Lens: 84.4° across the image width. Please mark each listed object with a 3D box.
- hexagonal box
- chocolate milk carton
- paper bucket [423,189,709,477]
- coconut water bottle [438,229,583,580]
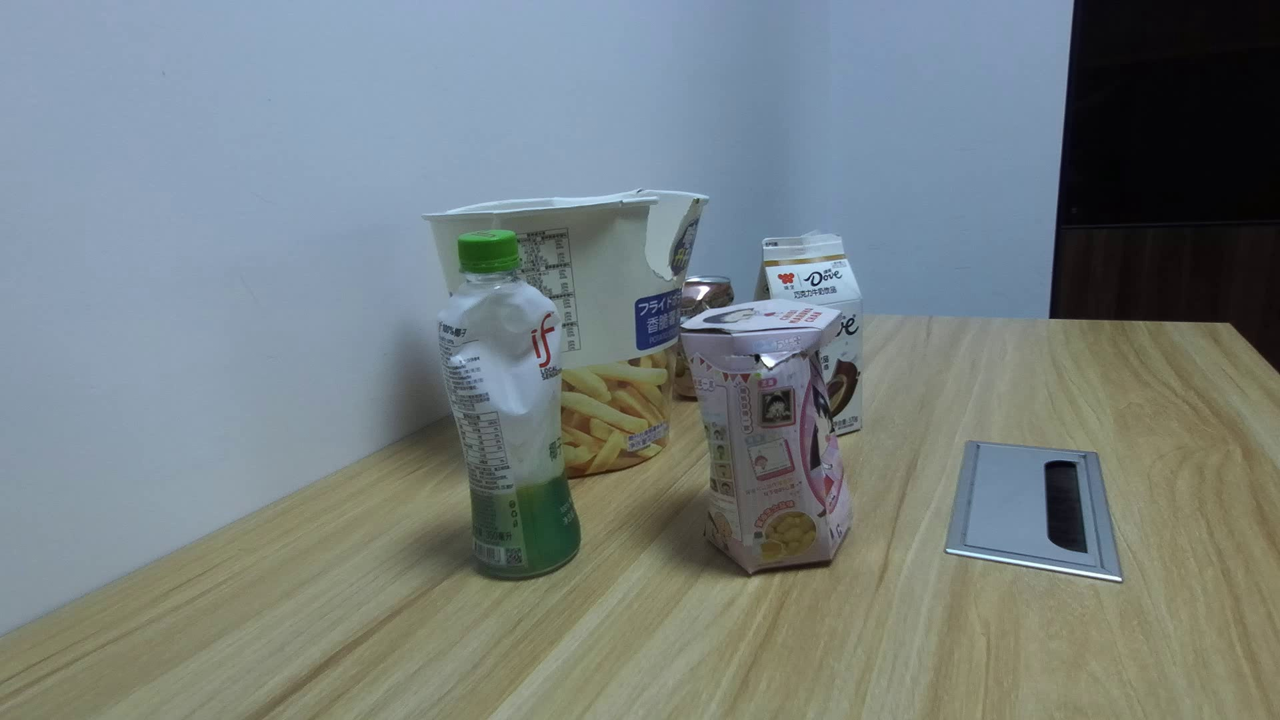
[{"bbox_3d":[0.070,0.040,0.398,0.091,0.134,0.090,-12,14,-20],"label":"hexagonal box"},{"bbox_3d":[0.120,-0.020,0.550,0.084,0.155,0.072,-13,20,-23],"label":"chocolate milk carton"},{"bbox_3d":[-0.050,-0.026,0.549,0.203,0.197,0.145,-8,17,-7],"label":"paper bucket"},{"bbox_3d":[-0.073,0.024,0.395,0.069,0.187,0.069,-3,14,1],"label":"coconut water bottle"}]
